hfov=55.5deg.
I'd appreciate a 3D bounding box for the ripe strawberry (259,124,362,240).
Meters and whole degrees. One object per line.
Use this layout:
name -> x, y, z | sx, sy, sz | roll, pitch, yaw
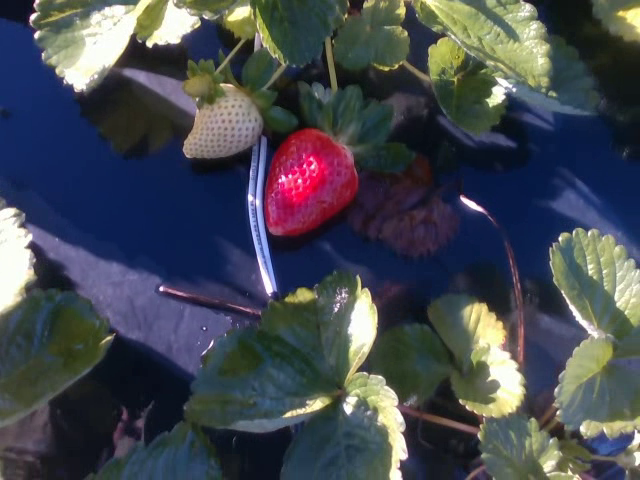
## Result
ripe strawberry -> -0.002, -0.030, 0.320 | 0.040, 0.080, 0.063 | -6, -47, 52
